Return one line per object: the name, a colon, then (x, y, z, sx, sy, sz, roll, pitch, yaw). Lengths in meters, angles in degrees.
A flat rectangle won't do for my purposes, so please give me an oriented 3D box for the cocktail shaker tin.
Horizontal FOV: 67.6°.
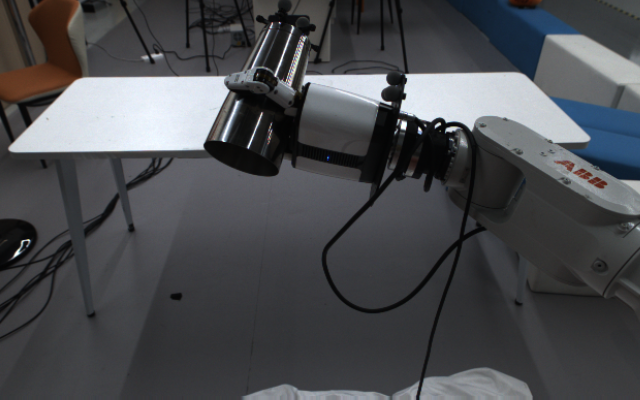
cocktail shaker tin: (-0.066, -0.124, 0.585, 0.093, 0.093, 0.170, 13, 74, 16)
